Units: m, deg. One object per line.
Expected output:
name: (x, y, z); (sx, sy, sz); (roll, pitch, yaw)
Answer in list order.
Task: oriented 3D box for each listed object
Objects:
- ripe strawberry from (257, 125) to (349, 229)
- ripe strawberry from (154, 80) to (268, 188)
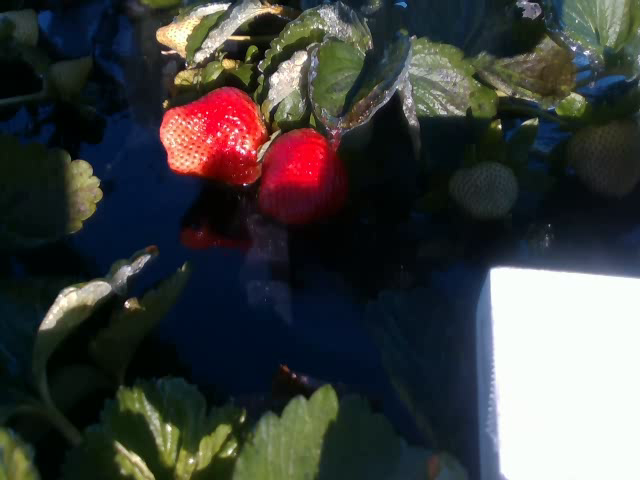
ripe strawberry: (-0.012, -0.035, 0.287); (0.043, 0.059, 0.040); (4, -36, 9)
ripe strawberry: (-0.055, -0.052, 0.314); (0.069, 0.053, 0.040); (-30, -23, -20)
